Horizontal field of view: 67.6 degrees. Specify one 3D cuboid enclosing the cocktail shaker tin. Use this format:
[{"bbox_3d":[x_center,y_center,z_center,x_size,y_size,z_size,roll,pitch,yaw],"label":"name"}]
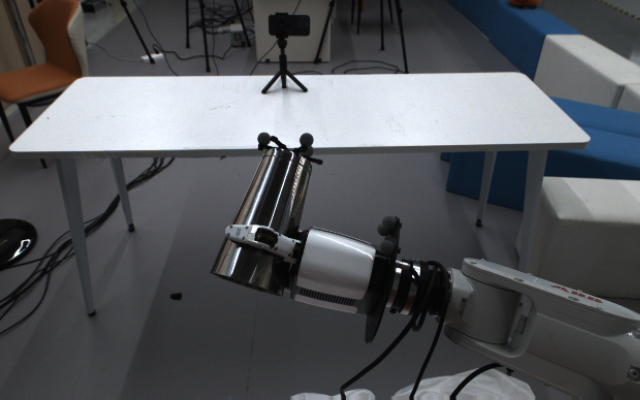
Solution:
[{"bbox_3d":[-0.066,0.025,0.610,0.093,0.093,0.170,13,74,15],"label":"cocktail shaker tin"}]
